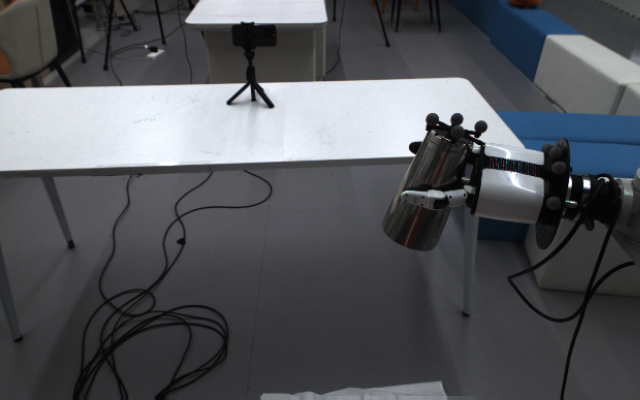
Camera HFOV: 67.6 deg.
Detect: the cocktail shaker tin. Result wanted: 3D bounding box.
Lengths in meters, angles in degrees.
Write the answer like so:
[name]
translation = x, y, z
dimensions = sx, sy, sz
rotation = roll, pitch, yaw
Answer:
[cocktail shaker tin]
translation = 0.164, -0.023, 0.718
dimensions = 0.093, 0.170, 0.093
rotation = 12, 29, -7
